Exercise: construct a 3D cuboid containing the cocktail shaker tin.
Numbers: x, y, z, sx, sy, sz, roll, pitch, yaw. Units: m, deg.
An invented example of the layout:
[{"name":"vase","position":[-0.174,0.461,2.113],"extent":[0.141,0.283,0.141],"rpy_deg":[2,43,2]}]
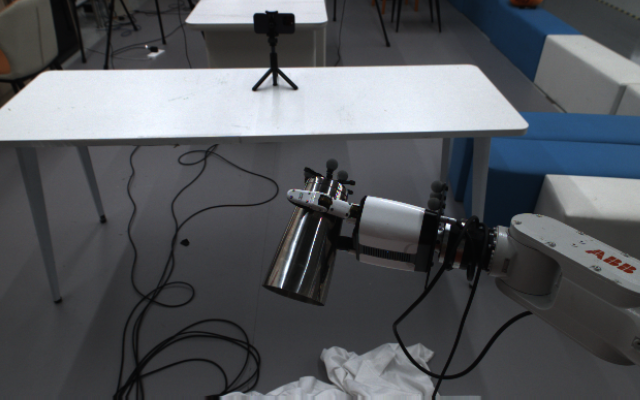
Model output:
[{"name":"cocktail shaker tin","position":[-0.012,0.055,0.699],"extent":[0.093,0.093,0.170],"rpy_deg":[13,71,15]}]
